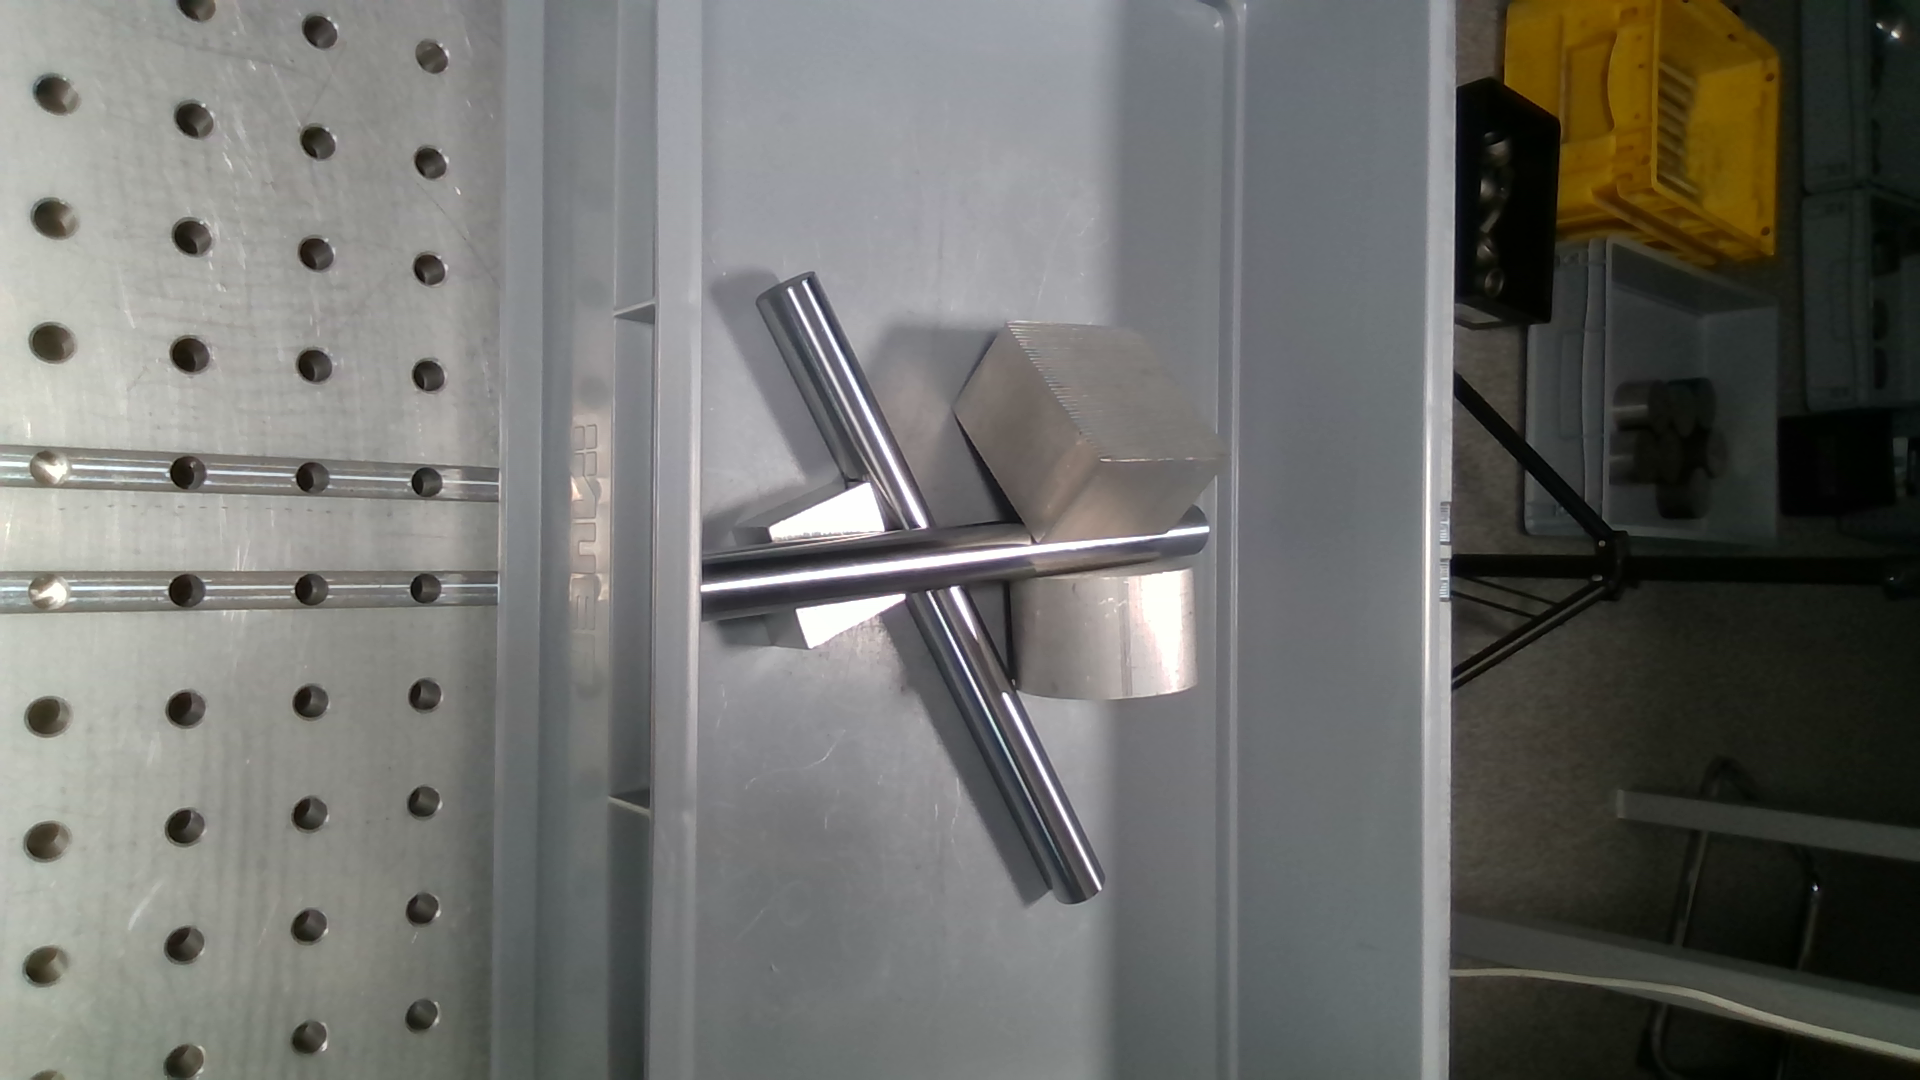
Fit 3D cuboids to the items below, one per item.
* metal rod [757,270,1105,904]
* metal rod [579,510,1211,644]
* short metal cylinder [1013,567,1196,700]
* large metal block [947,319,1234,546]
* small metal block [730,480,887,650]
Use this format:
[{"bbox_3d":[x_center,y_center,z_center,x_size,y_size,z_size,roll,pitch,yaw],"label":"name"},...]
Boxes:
[{"bbox_3d":[-0.006,0.030,0.576,0.025,0.025,0.301,-39,114,-33],"label":"metal rod"},{"bbox_3d":[-0.005,0.009,0.543,0.300,0.025,0.025,-6,94,-41],"label":"metal rod"},{"bbox_3d":[0.063,0.037,0.598,0.080,0.080,0.050,-6,95,-40],"label":"short metal cylinder"},{"bbox_3d":[0.055,-0.047,0.586,0.080,0.050,0.080,-5,52,-40],"label":"large metal block"},{"bbox_3d":[-0.055,0.009,0.536,0.050,0.025,0.050,-27,107,-37],"label":"small metal block"}]
